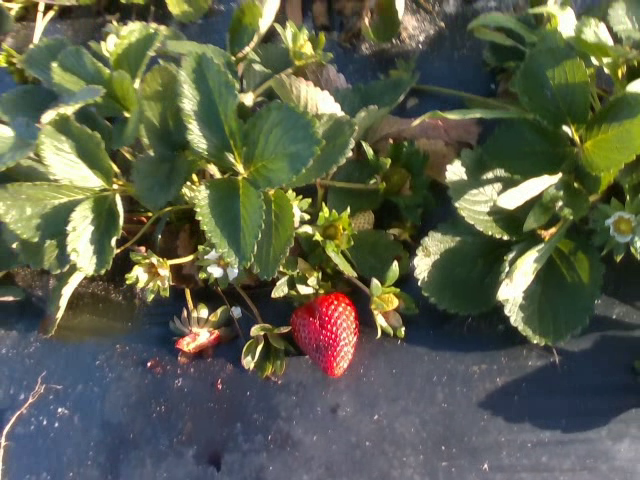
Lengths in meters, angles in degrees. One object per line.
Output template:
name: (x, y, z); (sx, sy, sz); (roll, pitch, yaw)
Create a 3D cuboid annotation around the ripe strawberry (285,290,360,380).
ripe strawberry: (0.004, 0.062, 0.389); (0.052, 0.051, 0.041); (-28, -48, 19)
